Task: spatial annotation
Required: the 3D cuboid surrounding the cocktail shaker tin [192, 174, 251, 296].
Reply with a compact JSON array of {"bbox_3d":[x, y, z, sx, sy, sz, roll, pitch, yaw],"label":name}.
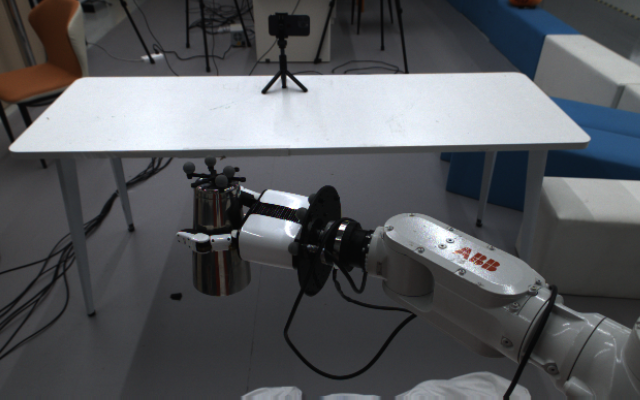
[{"bbox_3d":[-0.154,0.050,0.740,0.093,0.170,0.093,2,26,-1],"label":"cocktail shaker tin"}]
